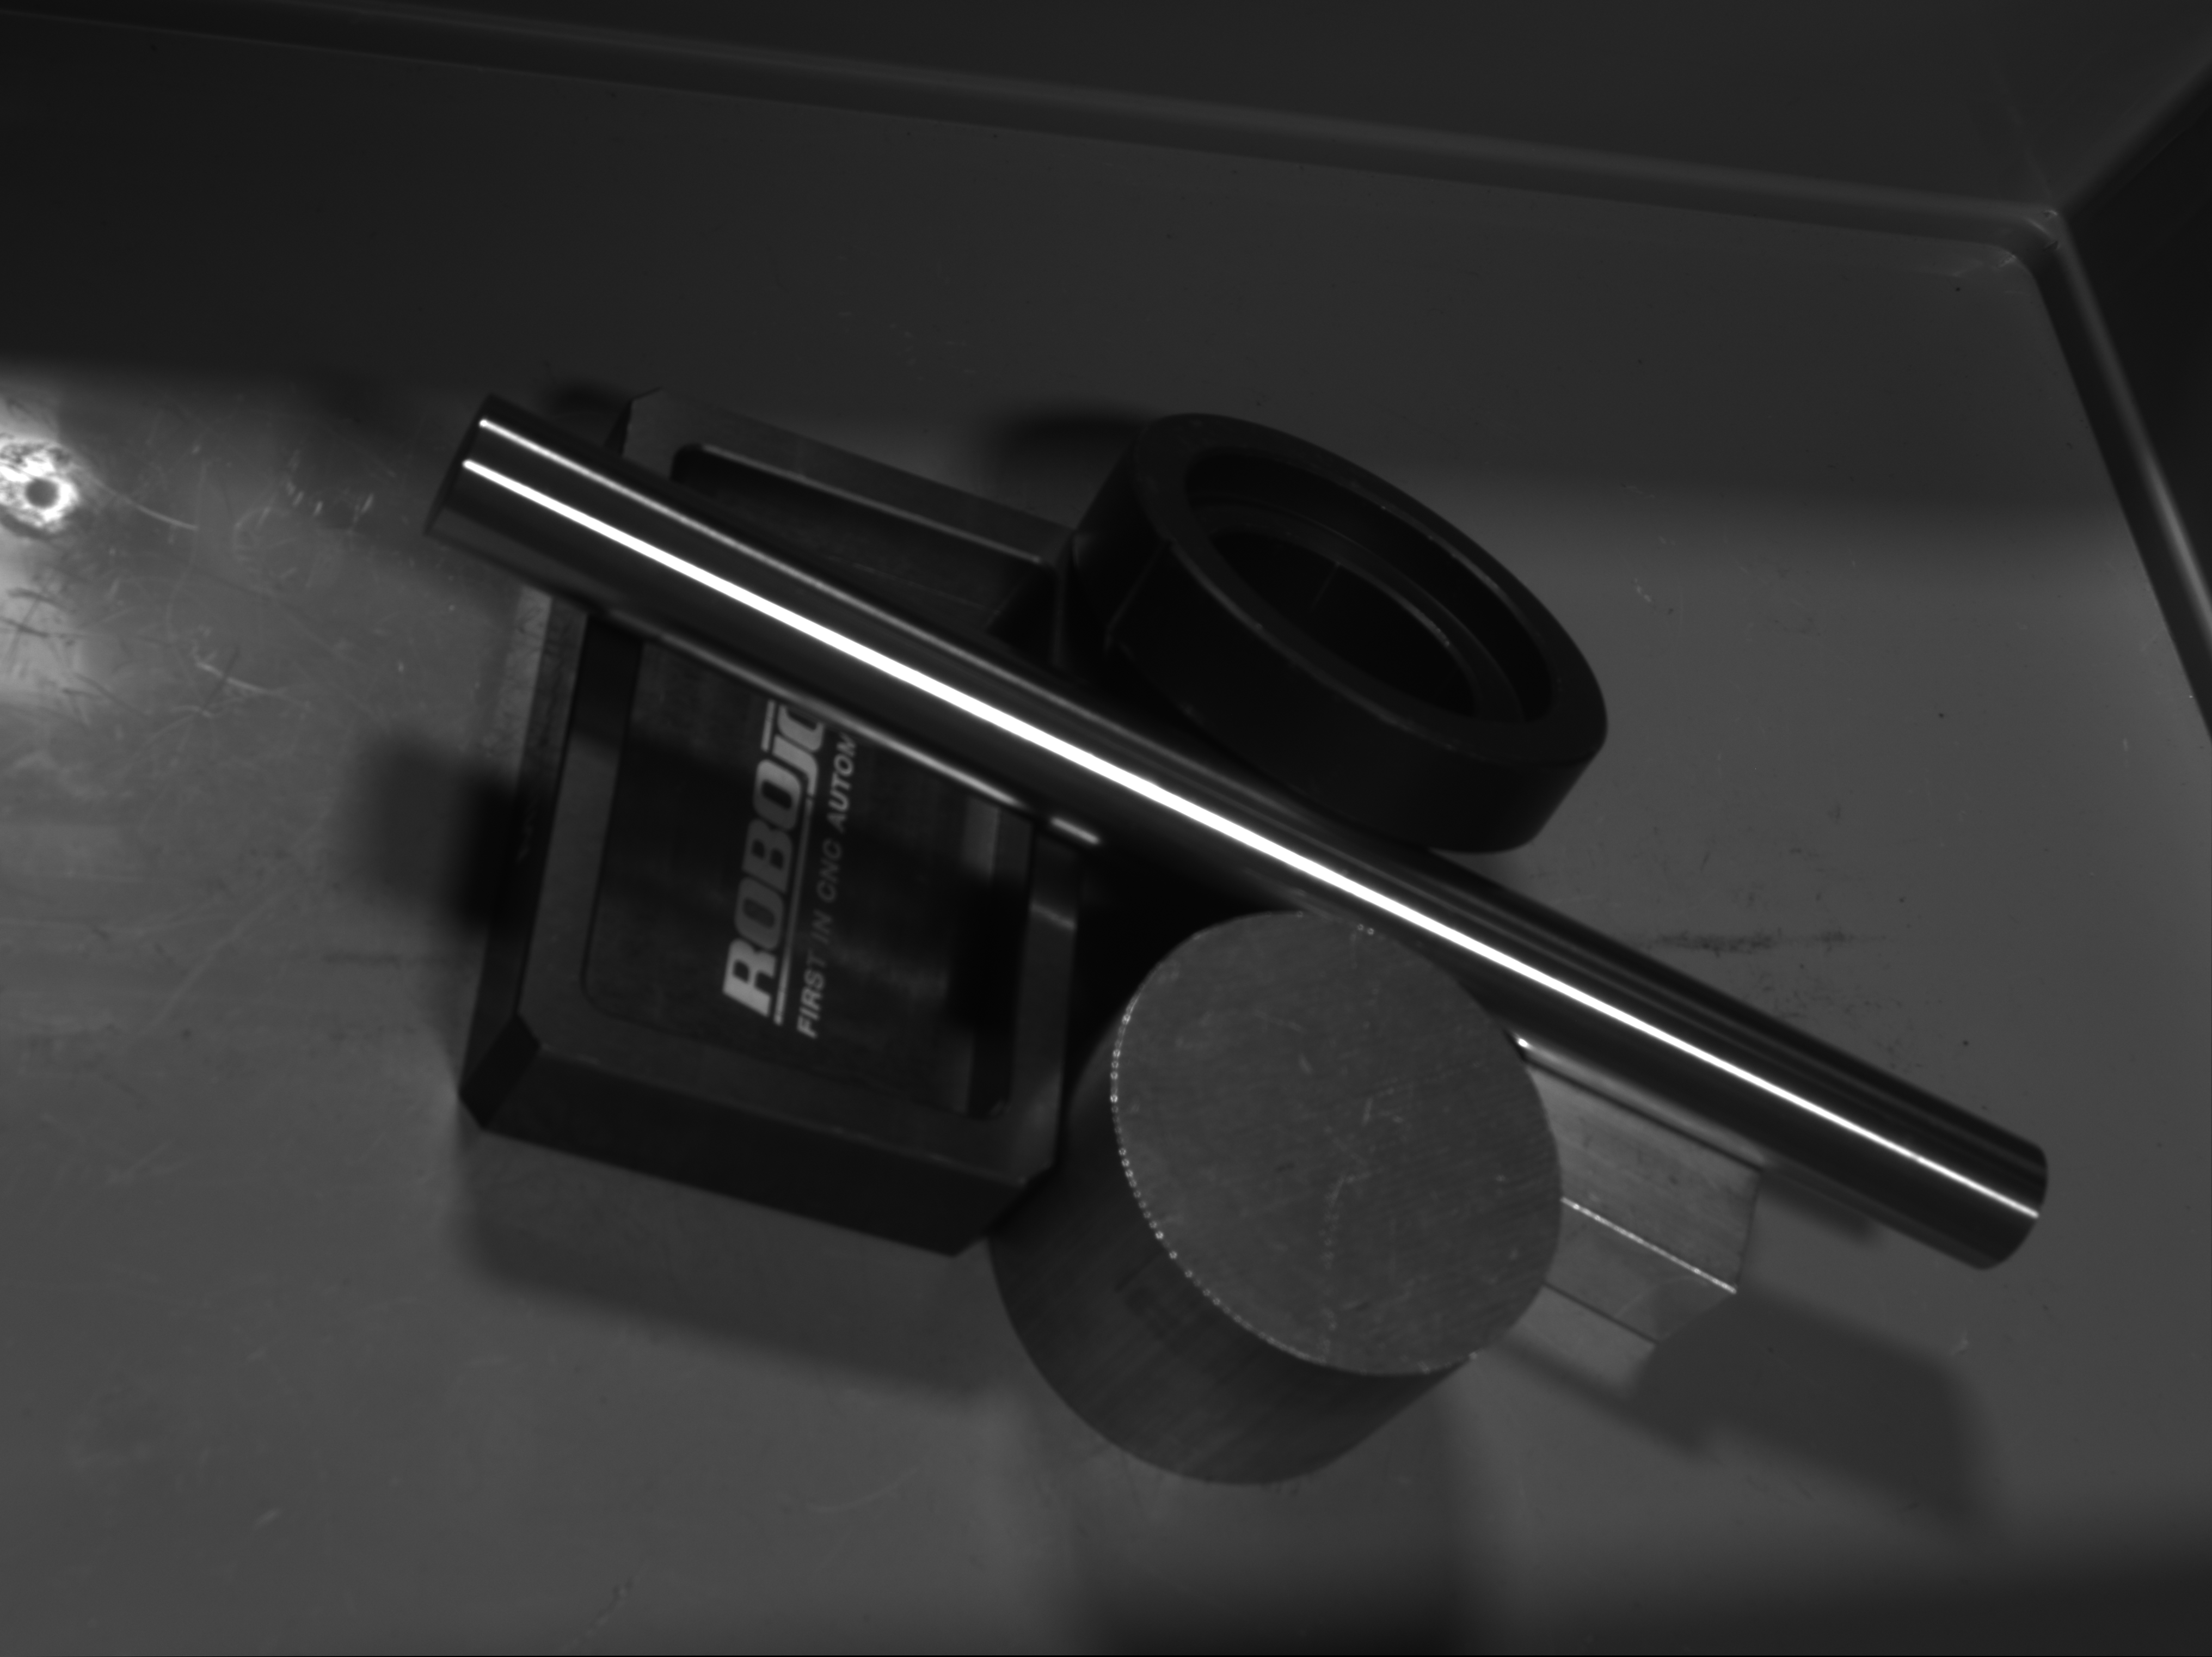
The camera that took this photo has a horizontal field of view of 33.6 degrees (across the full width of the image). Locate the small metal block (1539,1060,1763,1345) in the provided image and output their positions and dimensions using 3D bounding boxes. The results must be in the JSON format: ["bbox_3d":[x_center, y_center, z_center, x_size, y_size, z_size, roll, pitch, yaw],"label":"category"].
[{"bbox_3d":[0.089,0.056,0.652,0.050,0.025,0.050,28,52,-10],"label":"small metal block"}]

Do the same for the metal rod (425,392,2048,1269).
[{"bbox_3d":[0.029,0.005,0.614,0.300,0.025,0.025,25,53,-15],"label":"metal rod"}]

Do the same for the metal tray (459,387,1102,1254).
[{"bbox_3d":[-0.050,-0.003,0.609,0.090,0.030,0.130,17,55,-18],"label":"metal tray"}]

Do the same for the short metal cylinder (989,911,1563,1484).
[{"bbox_3d":[0.027,0.061,0.599,0.080,0.050,0.080,14,56,-21],"label":"short metal cylinder"}]

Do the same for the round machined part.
[{"bbox_3d":[0.037,-0.027,0.648,0.098,0.042,0.098,26,27,-14],"label":"round machined part"}]
